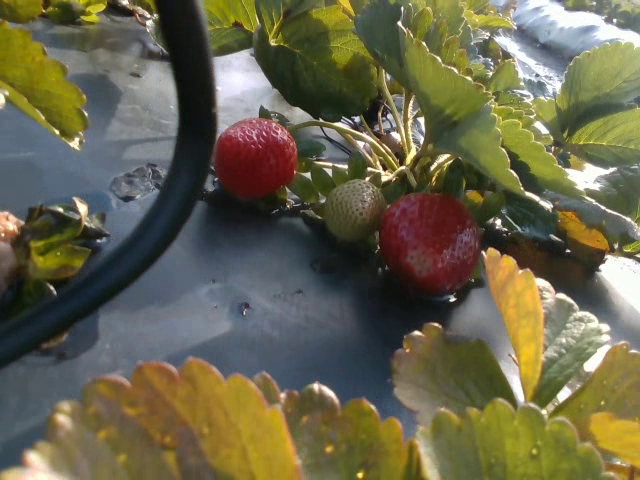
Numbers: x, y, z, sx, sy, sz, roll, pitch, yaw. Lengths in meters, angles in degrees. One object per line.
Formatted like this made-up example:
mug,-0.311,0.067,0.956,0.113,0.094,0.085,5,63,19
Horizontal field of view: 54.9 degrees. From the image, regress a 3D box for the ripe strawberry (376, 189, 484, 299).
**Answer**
ripe strawberry,0.046,0.002,0.261,0.048,0.050,0.065,-16,24,26
